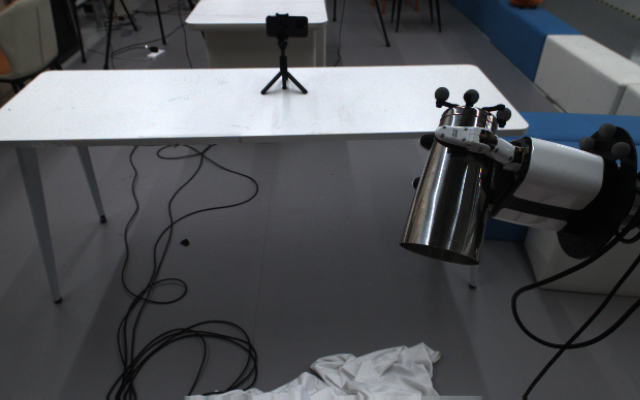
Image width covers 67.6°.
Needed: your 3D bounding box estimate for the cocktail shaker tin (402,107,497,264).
[{"bbox_3d":[0.161,-0.021,0.568,0.093,0.093,0.170,13,79,15],"label":"cocktail shaker tin"}]
